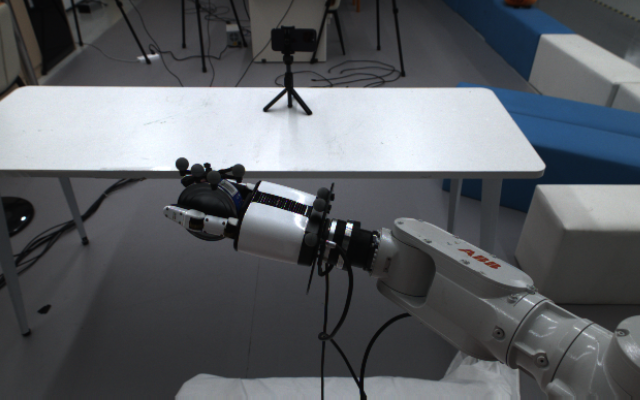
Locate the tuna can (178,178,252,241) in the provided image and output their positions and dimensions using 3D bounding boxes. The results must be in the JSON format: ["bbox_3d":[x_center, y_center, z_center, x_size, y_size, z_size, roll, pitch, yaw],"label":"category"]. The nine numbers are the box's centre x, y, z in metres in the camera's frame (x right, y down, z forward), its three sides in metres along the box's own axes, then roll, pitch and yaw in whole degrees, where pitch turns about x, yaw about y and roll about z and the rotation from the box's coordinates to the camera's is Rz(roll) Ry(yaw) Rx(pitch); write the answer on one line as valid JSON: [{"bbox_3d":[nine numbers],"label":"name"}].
[{"bbox_3d":[-0.148,0.012,0.662,0.085,0.085,0.034,9,22,9],"label":"tuna can"}]
